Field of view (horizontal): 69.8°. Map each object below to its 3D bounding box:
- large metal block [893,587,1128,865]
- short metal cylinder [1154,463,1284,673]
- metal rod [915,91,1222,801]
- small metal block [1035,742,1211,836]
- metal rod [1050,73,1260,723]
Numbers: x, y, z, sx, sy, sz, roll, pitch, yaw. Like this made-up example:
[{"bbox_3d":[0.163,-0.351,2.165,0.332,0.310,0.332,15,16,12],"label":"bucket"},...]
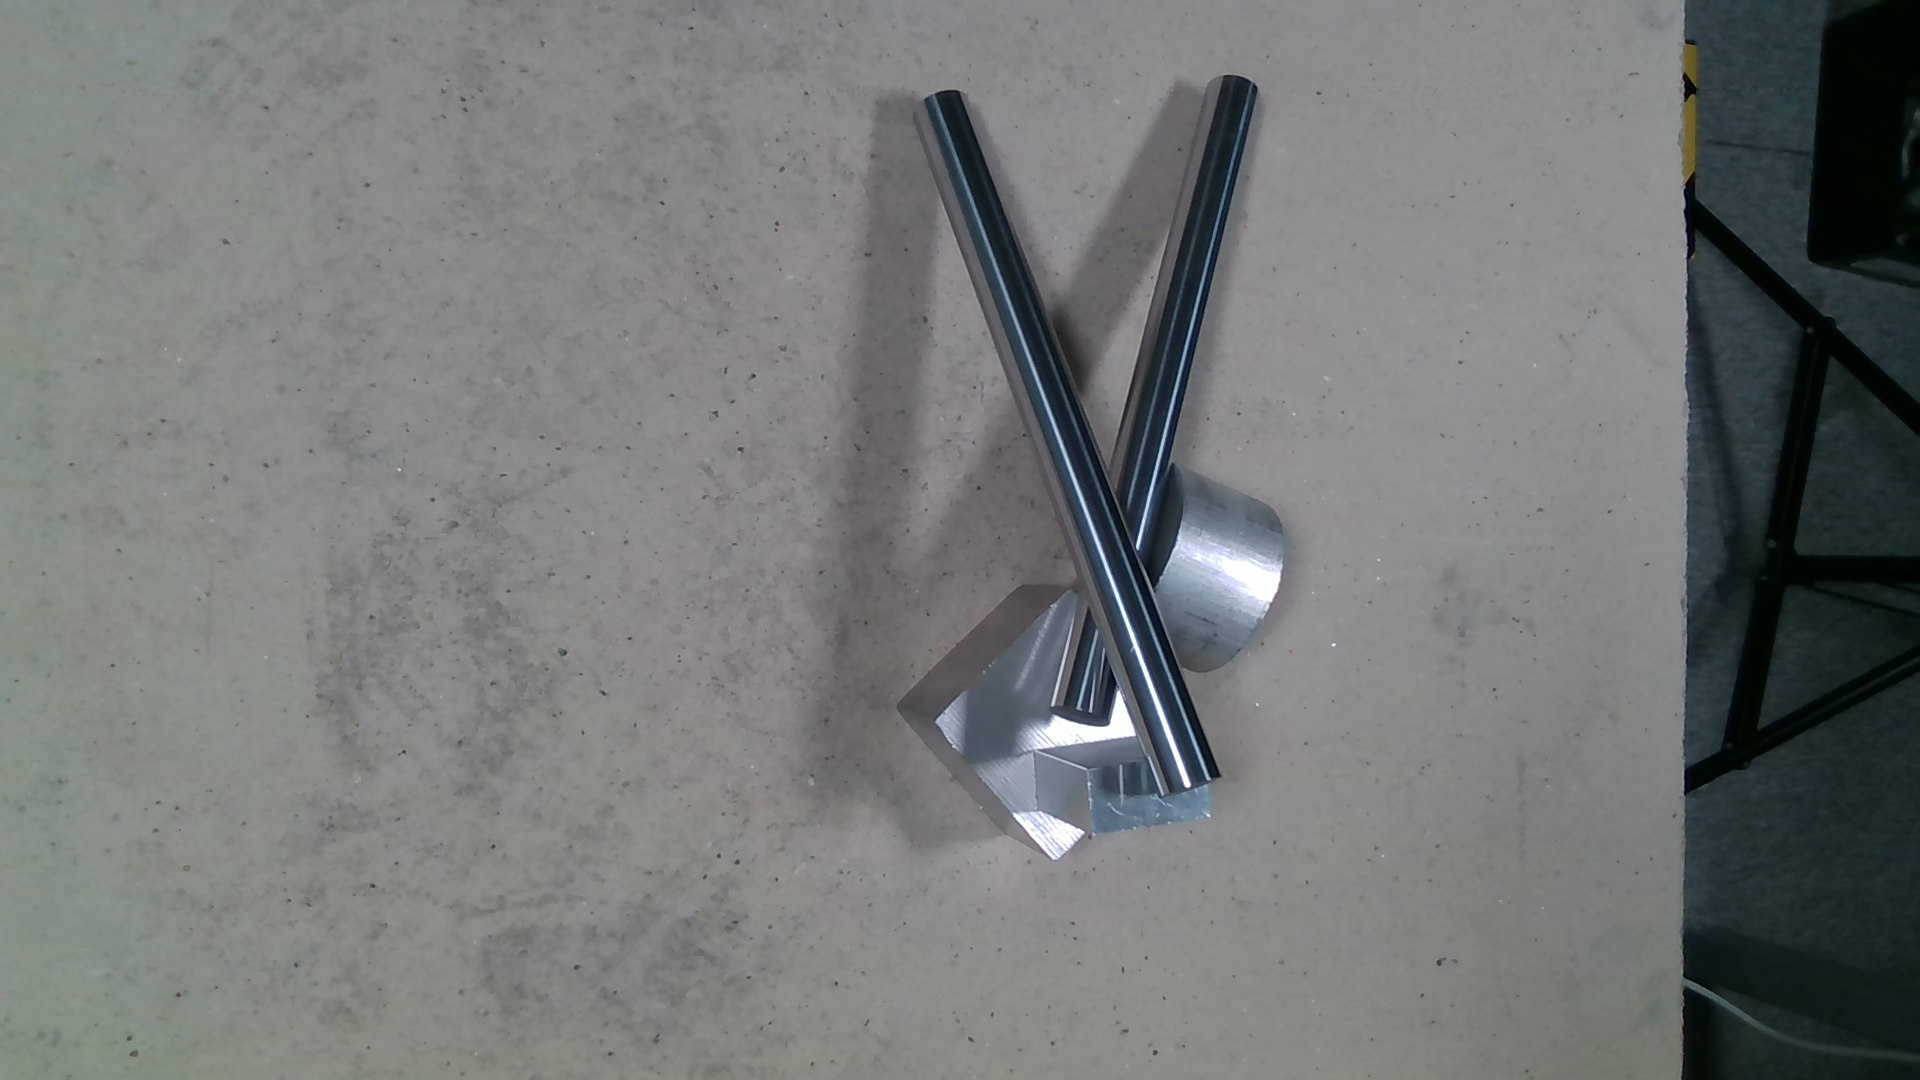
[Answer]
[{"bbox_3d":[0.033,0.076,0.584,0.080,0.050,0.080,-43,103,-16],"label":"large metal block"},{"bbox_3d":[0.094,0.011,0.593,0.050,0.080,0.080,22,83,-19],"label":"short metal cylinder"},{"bbox_3d":[0.038,-0.045,0.543,0.025,0.025,0.299,-13,74,-20],"label":"metal rod"},{"bbox_3d":[0.063,0.095,0.540,0.050,0.050,0.025,-5,91,-20],"label":"small metal block"},{"bbox_3d":[0.086,-0.069,0.587,0.025,0.025,0.299,22,71,-19],"label":"metal rod"}]
